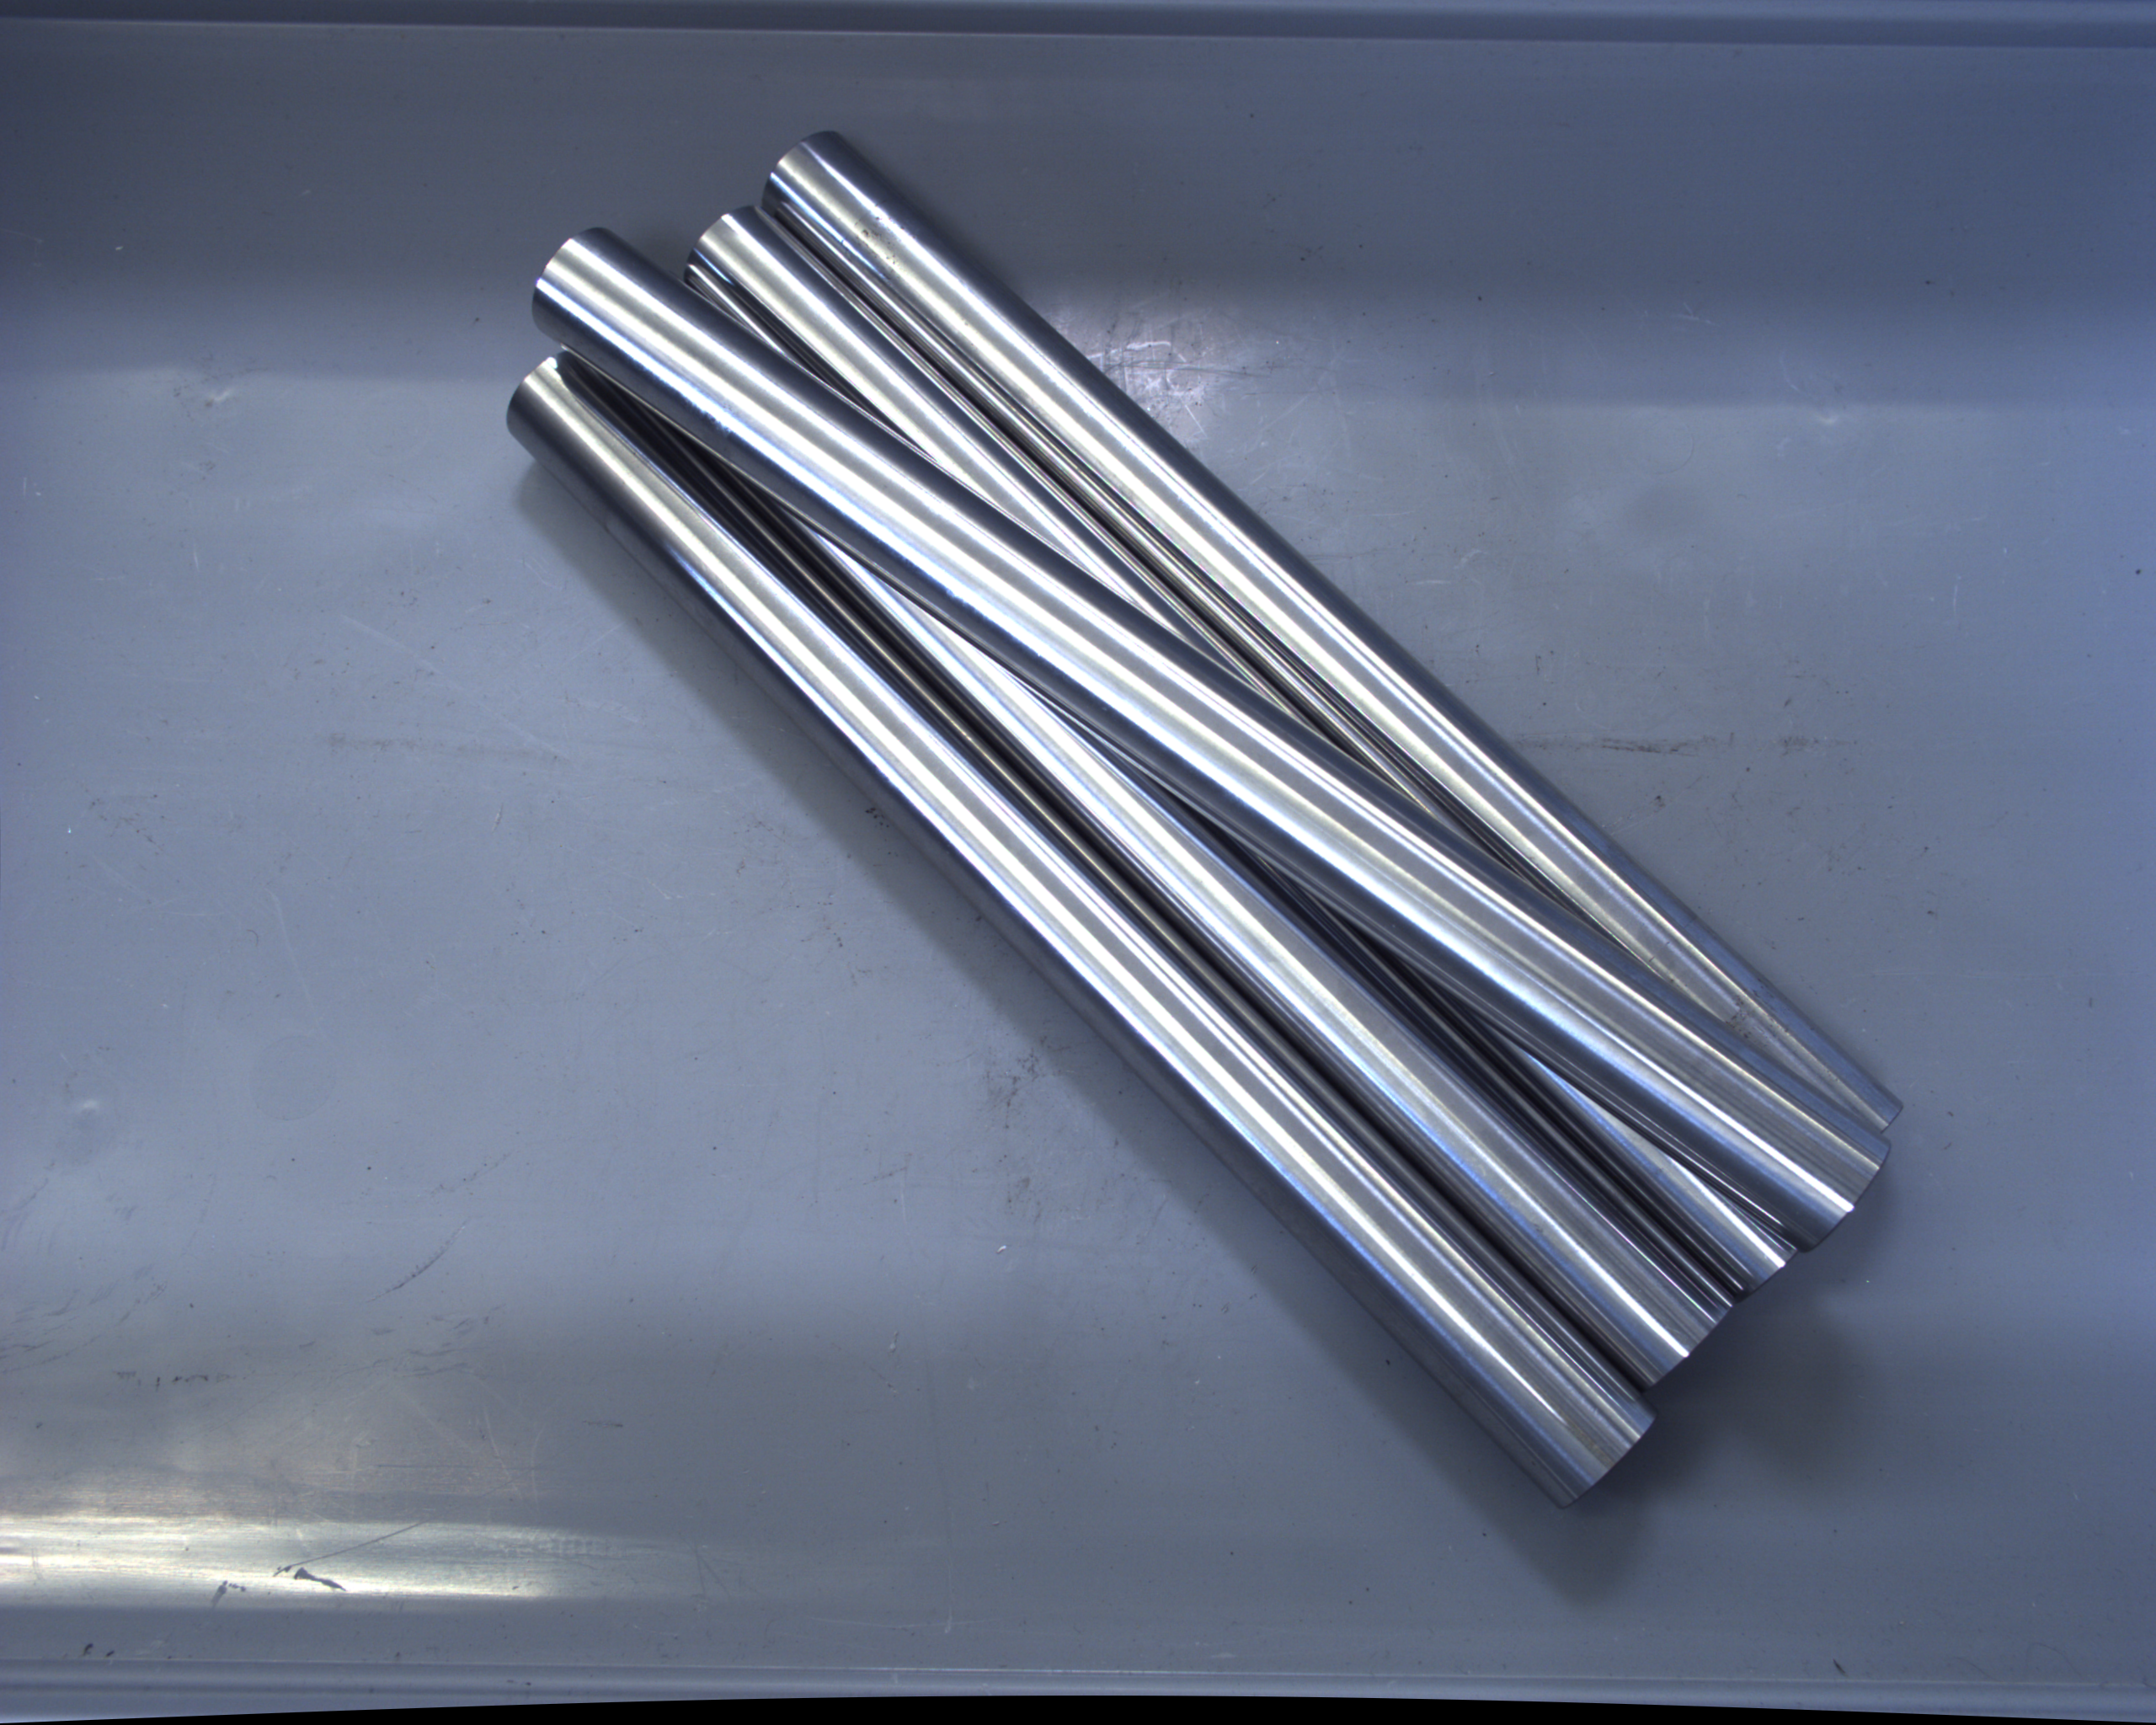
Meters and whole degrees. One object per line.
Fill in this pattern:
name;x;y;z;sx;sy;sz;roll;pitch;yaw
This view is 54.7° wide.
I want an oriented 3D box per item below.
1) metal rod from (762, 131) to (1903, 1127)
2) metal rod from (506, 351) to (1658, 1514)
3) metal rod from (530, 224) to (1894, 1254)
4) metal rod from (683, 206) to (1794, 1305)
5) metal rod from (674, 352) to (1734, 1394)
metal rod;0.042;-0.049;0.426;0.025;0.025;0.300;-41;75;-14
metal rod;-0.009;0.004;0.407;0.025;0.025;0.300;-41;75;-14
metal rod;0.016;-0.030;0.392;0.300;0.025;0.025;37;74;12
metal rod;0.026;-0.030;0.419;0.025;0.025;0.300;-41;75;-14
metal rod;0.007;-0.015;0.414;0.025;0.025;0.300;-41;75;-14
